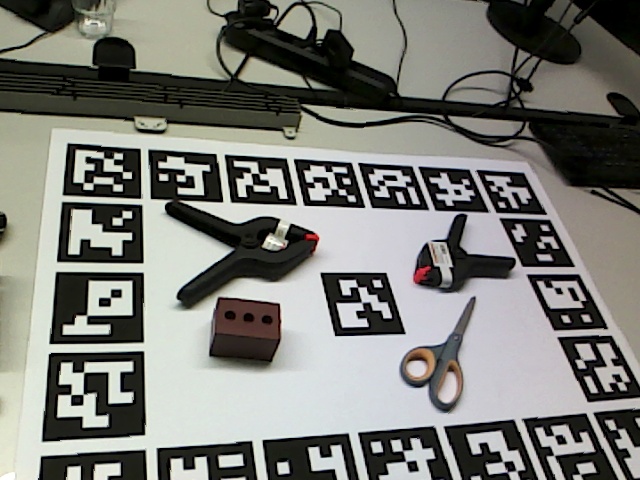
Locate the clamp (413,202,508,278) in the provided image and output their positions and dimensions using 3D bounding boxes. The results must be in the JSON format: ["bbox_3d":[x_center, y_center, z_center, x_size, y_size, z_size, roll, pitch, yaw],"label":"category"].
[{"bbox_3d":[0.206,0.012,0.959,0.164,0.036,0.122,-26,70,-33],"label":"clamp"}]

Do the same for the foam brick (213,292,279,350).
[{"bbox_3d":[-0.092,0.101,0.767,0.078,0.051,0.053,4,52,-10],"label":"foam brick"}]

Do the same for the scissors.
[{"bbox_3d":[0.174,0.127,0.854,0.088,0.016,0.202,36,47,2],"label":"scissors"}]

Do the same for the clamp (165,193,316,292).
[{"bbox_3d":[-0.103,-0.002,0.858,0.202,0.036,0.166,-2,49,-22],"label":"clamp"}]
